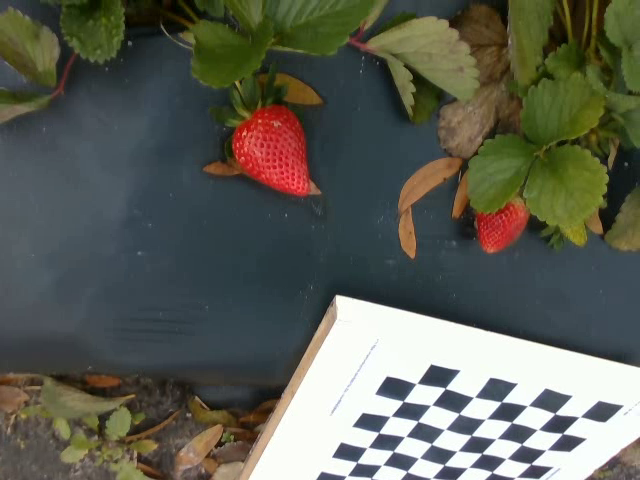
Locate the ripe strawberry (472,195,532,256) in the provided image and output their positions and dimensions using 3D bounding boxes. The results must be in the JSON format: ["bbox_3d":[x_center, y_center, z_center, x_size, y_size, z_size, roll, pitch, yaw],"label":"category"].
[{"bbox_3d":[0.119,-0.007,0.402,0.040,0.042,0.037,22,-11,-22],"label":"ripe strawberry"}]

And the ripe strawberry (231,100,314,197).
[{"bbox_3d":[-0.023,-0.047,0.359,0.042,0.065,0.047,-17,-30,-44],"label":"ripe strawberry"}]
